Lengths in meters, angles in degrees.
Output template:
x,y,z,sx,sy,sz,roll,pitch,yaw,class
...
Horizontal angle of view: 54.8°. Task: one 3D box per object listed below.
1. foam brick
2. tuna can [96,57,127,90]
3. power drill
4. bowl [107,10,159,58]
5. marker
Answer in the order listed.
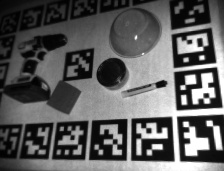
x,y,z,sx,sy,sz,roll,pitch,yaw,class
-0.139,0.038,0.617,0.051,0.053,0.078,20,81,25,foam brick
-0.002,-0.033,0.591,0.085,0.034,0.085,-6,70,17,tuna can
-0.245,-0.059,0.686,0.183,0.058,0.186,-5,67,16,power drill
0.048,-0.160,0.616,0.160,0.056,0.161,-11,61,20,bowl
0.078,0.011,0.552,0.120,0.020,0.019,-15,68,15,marker
